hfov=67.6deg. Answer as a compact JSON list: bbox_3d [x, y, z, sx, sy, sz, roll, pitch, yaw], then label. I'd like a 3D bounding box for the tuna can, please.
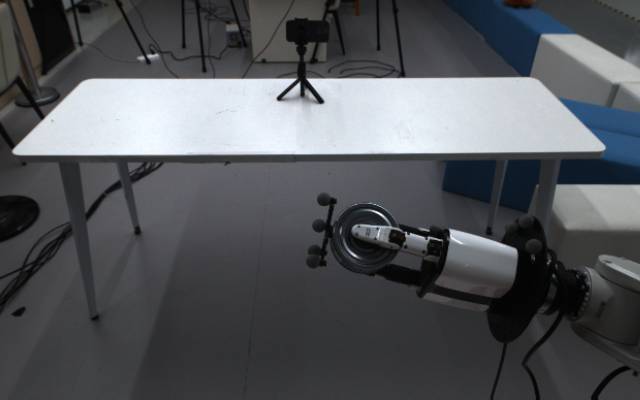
[{"bbox_3d":[0.059,0.050,0.598,0.085,0.034,0.085,2,73,-5],"label":"tuna can"}]
